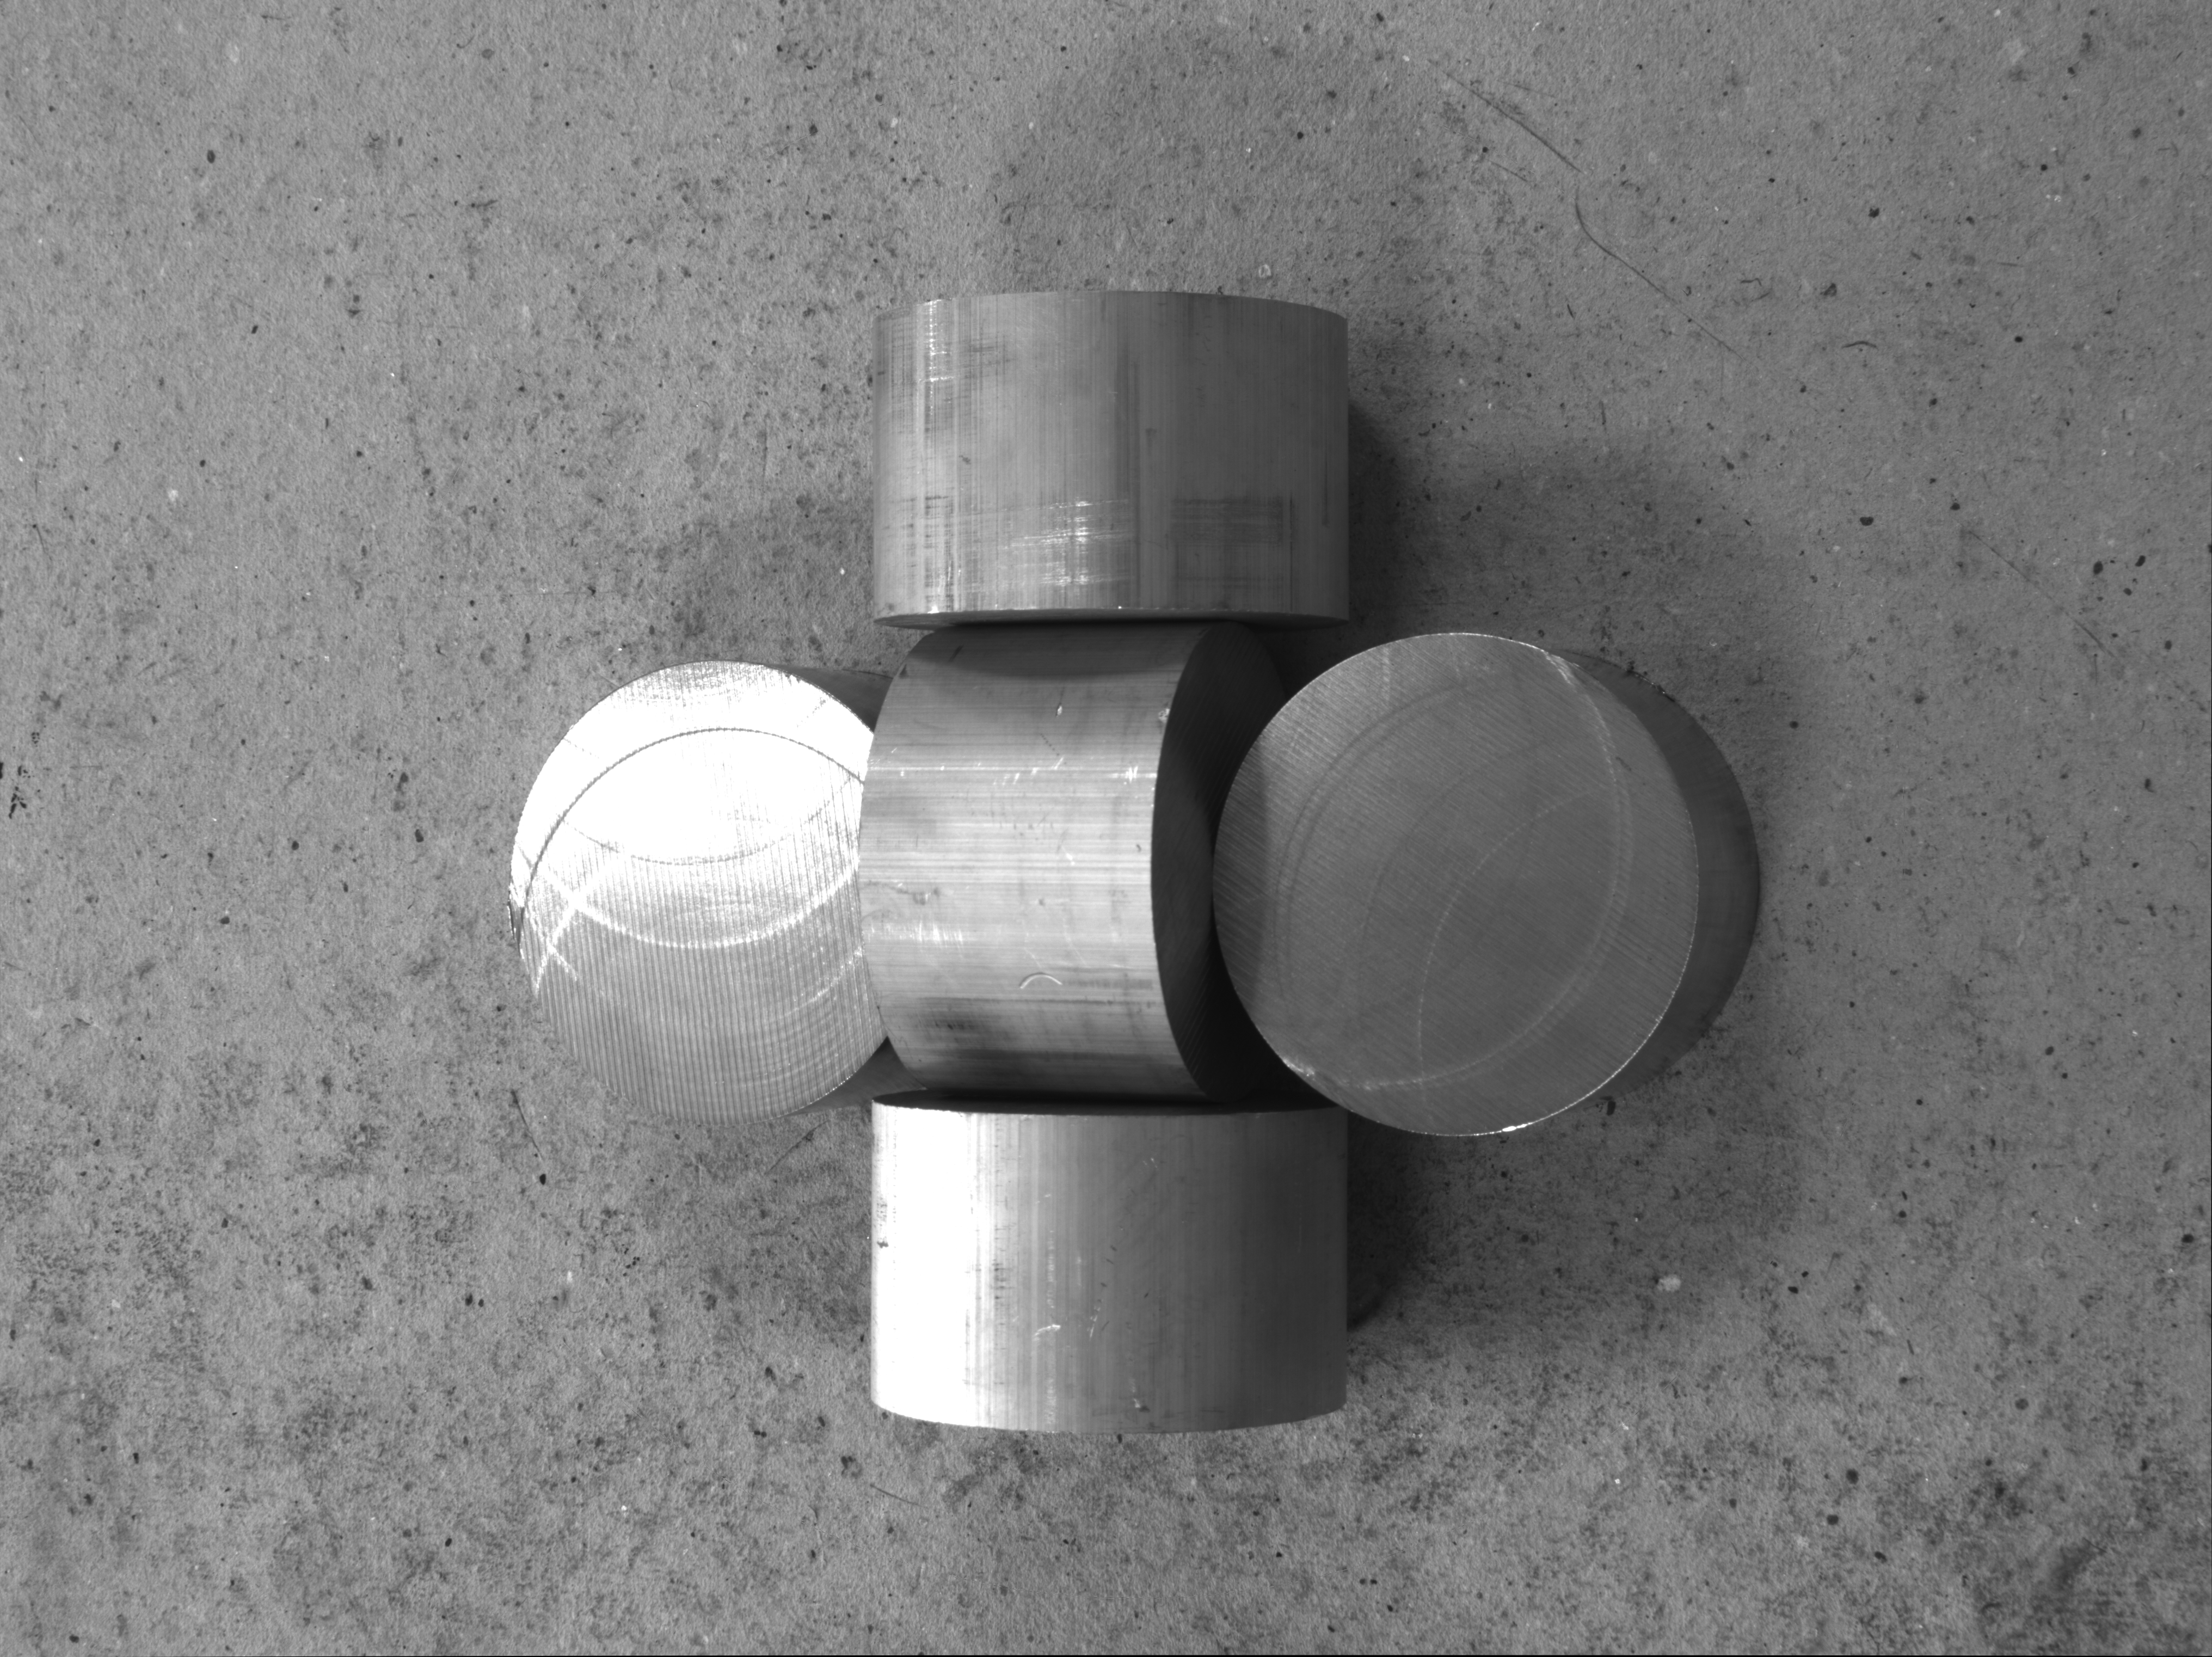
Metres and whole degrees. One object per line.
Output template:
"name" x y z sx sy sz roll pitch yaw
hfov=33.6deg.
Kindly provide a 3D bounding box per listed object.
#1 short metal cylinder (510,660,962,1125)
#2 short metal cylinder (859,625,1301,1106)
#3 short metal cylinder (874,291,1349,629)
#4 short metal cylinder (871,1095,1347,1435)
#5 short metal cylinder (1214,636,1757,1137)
"short metal cylinder" -0.059 0.011 0.654 0.080 0.050 0.080 0 90 19
"short metal cylinder" -0.002 0.006 0.618 0.050 0.080 0.080 0 90 20
"short metal cylinder" 0.001 -0.060 0.617 0.080 0.080 0.050 0 90 20
"short metal cylinder" 0.001 0.071 0.617 0.080 0.080 0.050 0 89 20
"short metal cylinder" 0.064 0.009 0.609 0.080 0.050 0.080 0 90 20
